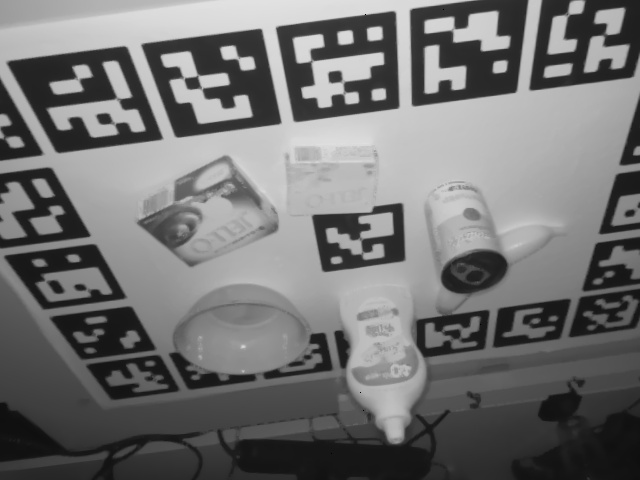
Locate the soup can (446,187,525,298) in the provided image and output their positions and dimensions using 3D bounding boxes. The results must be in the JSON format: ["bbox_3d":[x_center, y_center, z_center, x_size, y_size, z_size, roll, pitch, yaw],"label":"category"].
[{"bbox_3d":[0.169,0.004,0.722,0.068,0.103,0.067,-2,138,-1],"label":"soup can"}]

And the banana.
[{"bbox_3d":[0.219,0.045,0.831,0.075,0.039,0.194,17,132,-36],"label":"banana"}]

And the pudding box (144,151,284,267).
[{"bbox_3d":[-0.106,-0.030,0.712,0.113,0.039,0.090,-24,128,18],"label":"pudding box"}]

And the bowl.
[{"bbox_3d":[-0.093,0.103,0.844,0.162,0.055,0.160,-5,137,-4],"label":"bowl"}]

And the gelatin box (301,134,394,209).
[{"bbox_3d":[0.026,-0.068,0.695,0.090,0.030,0.072,-3,133,-5],"label":"gelatin box"}]

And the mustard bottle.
[{"bbox_3d":[0.083,0.154,0.799,0.096,0.193,0.058,-6,139,1],"label":"mustard bottle"}]
